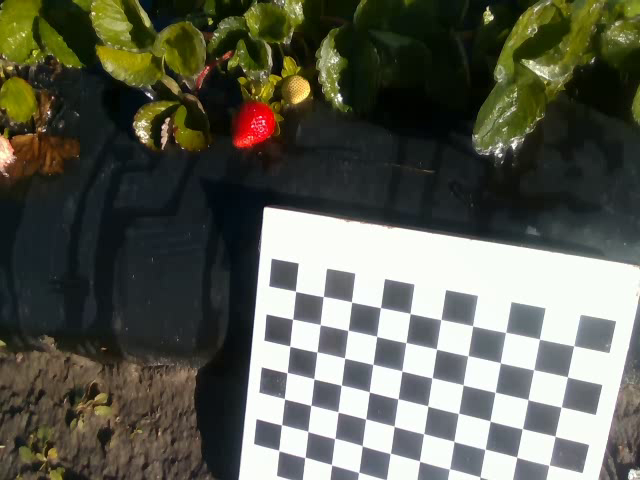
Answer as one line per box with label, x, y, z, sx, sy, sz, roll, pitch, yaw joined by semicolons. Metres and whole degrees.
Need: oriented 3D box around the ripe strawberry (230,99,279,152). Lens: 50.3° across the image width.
ripe strawberry;-0.046;-0.070;0.438;0.039;0.040;0.039;2;36;28
